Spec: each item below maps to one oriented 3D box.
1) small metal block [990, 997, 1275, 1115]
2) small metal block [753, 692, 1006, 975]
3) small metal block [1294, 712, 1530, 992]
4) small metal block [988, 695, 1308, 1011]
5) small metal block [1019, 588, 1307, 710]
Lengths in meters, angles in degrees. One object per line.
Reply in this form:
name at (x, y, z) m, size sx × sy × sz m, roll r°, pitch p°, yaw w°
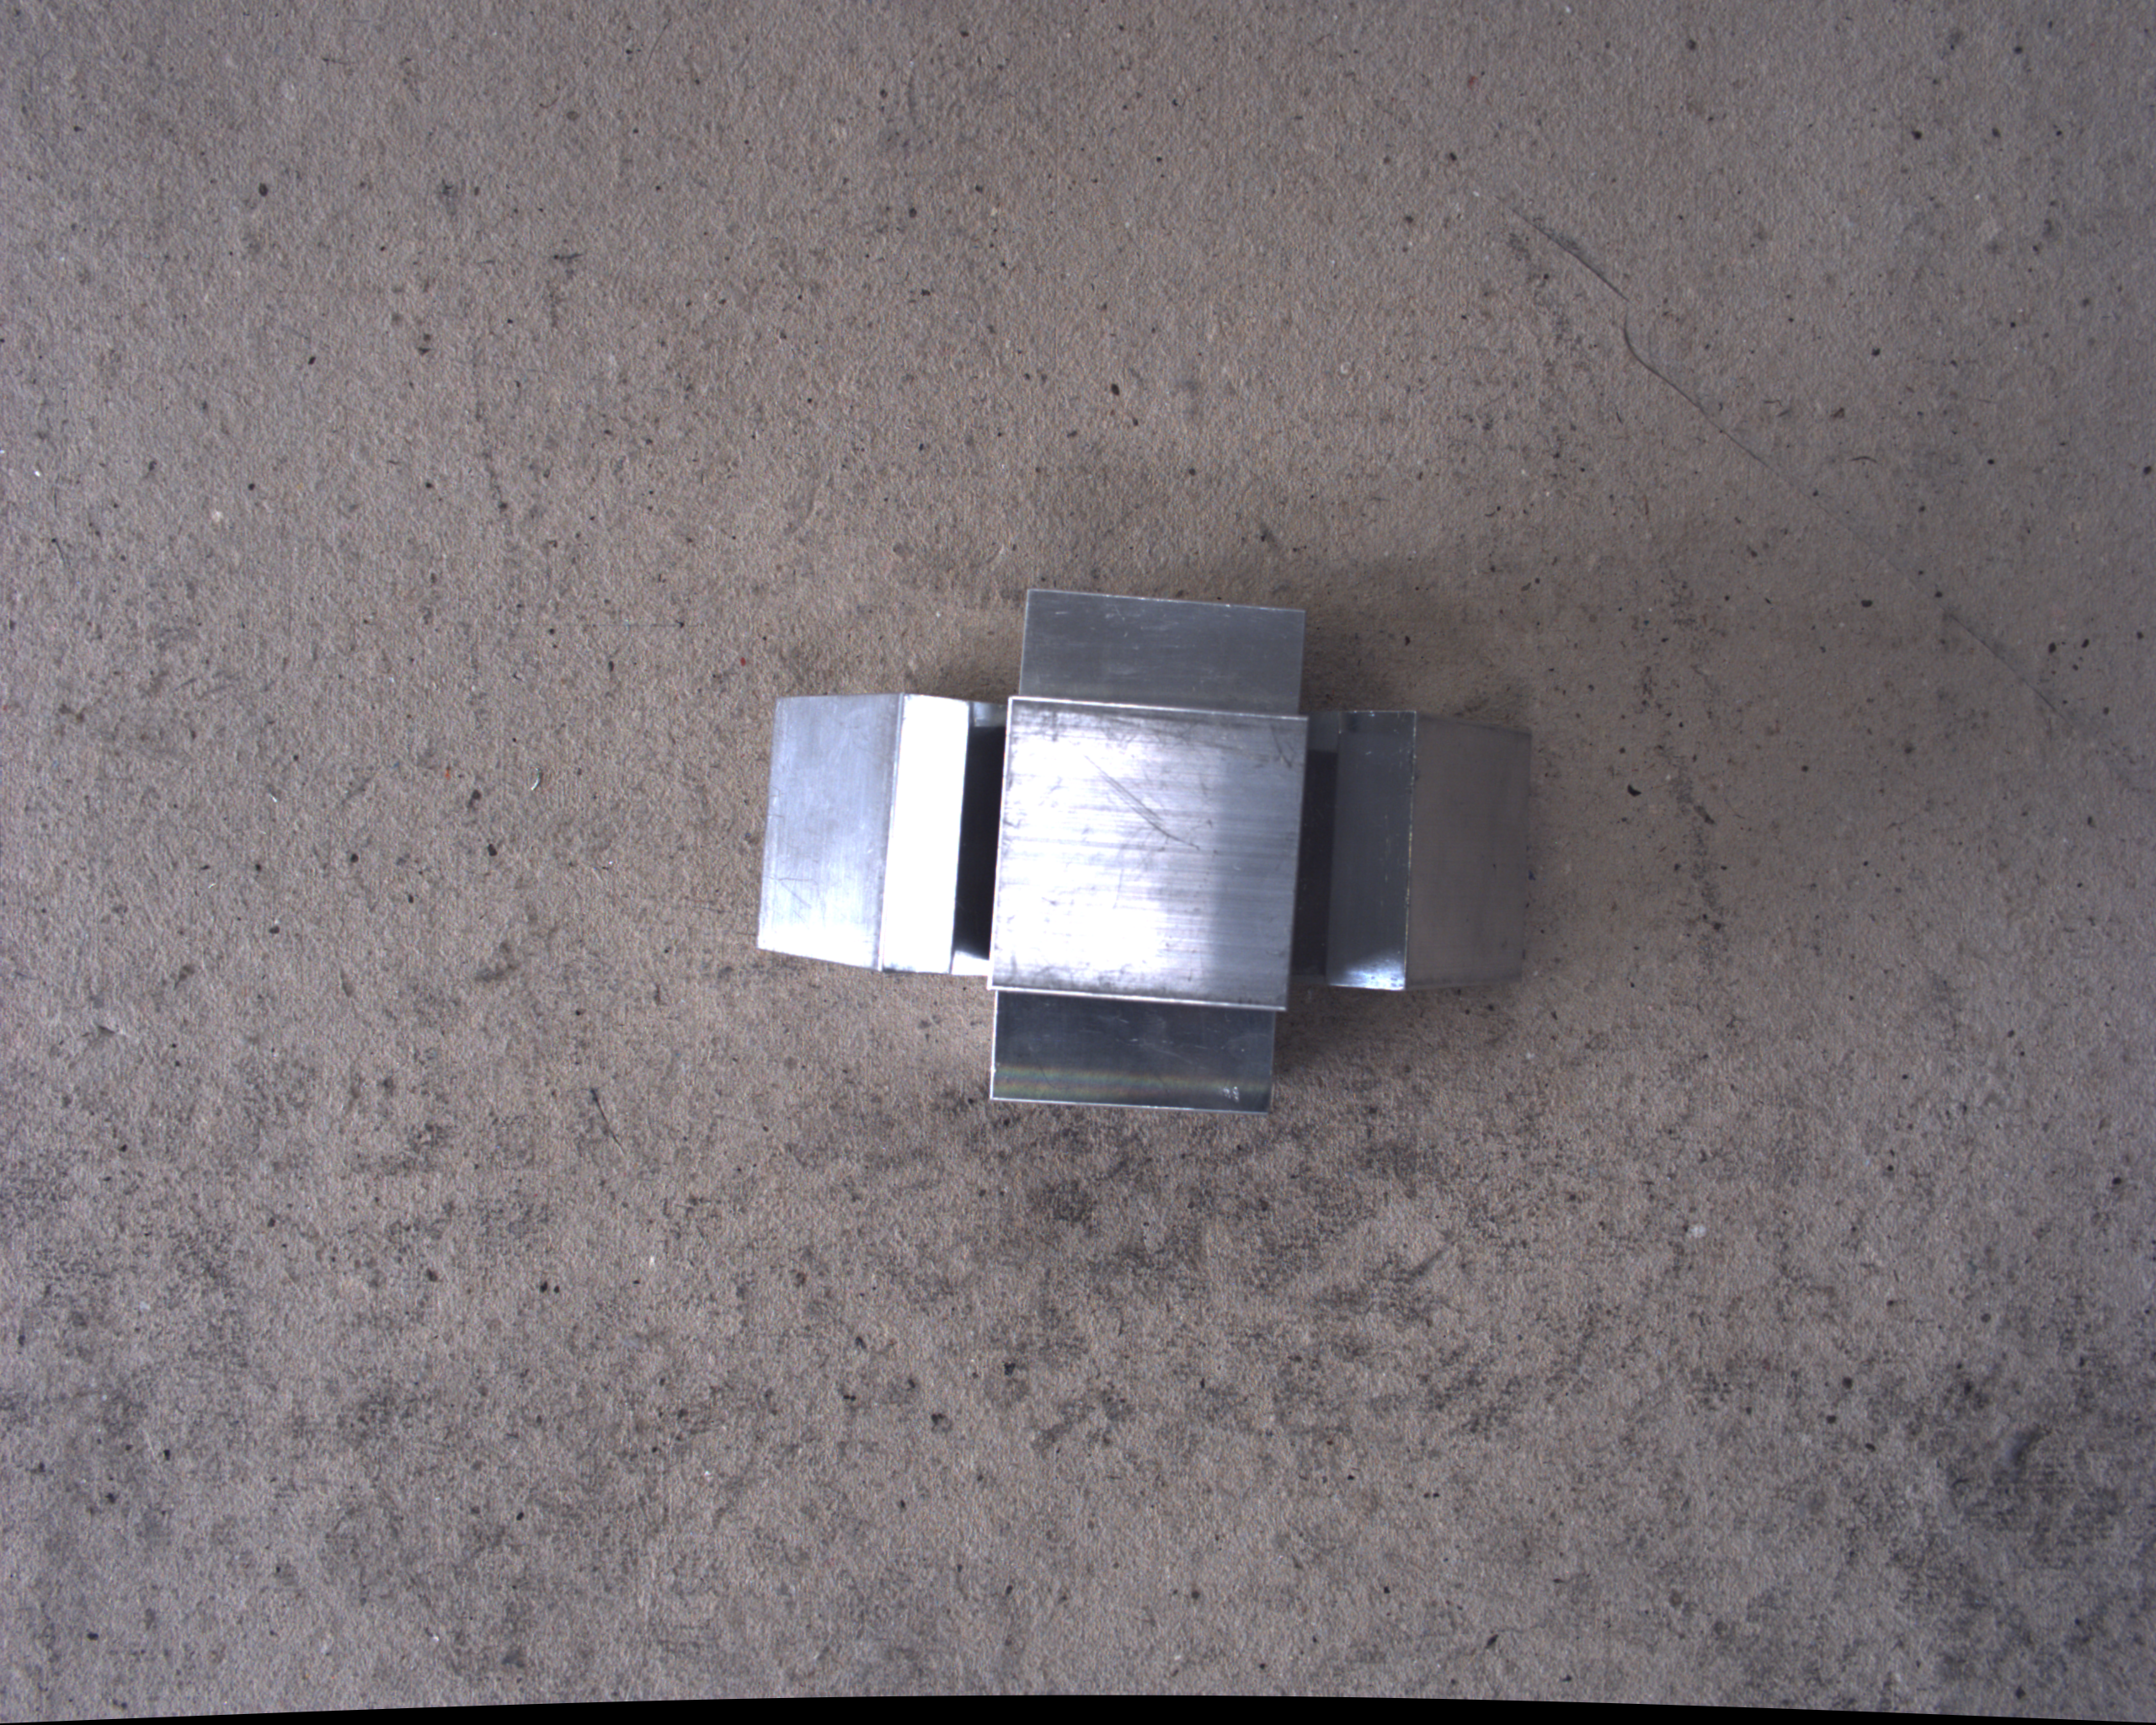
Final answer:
small metal block at (0.010, 0.031, 0.399) m, size 0.050 × 0.050 × 0.025 m, roll 3°, pitch 91°, yaw 0°
small metal block at (-0.037, -0.006, 0.396) m, size 0.025 × 0.050 × 0.050 m, roll 4°, pitch 90°, yaw -35°
small metal block at (0.063, -0.002, 0.397) m, size 0.025 × 0.050 × 0.050 m, roll 2°, pitch 91°, yaw 35°
small metal block at (0.012, -0.002, 0.362) m, size 0.050 × 0.025 × 0.050 m, roll 4°, pitch 90°, yaw 0°
small metal block at (0.015, -0.035, 0.399) m, size 0.050 × 0.050 × 0.025 m, roll 5°, pitch 91°, yaw 0°
